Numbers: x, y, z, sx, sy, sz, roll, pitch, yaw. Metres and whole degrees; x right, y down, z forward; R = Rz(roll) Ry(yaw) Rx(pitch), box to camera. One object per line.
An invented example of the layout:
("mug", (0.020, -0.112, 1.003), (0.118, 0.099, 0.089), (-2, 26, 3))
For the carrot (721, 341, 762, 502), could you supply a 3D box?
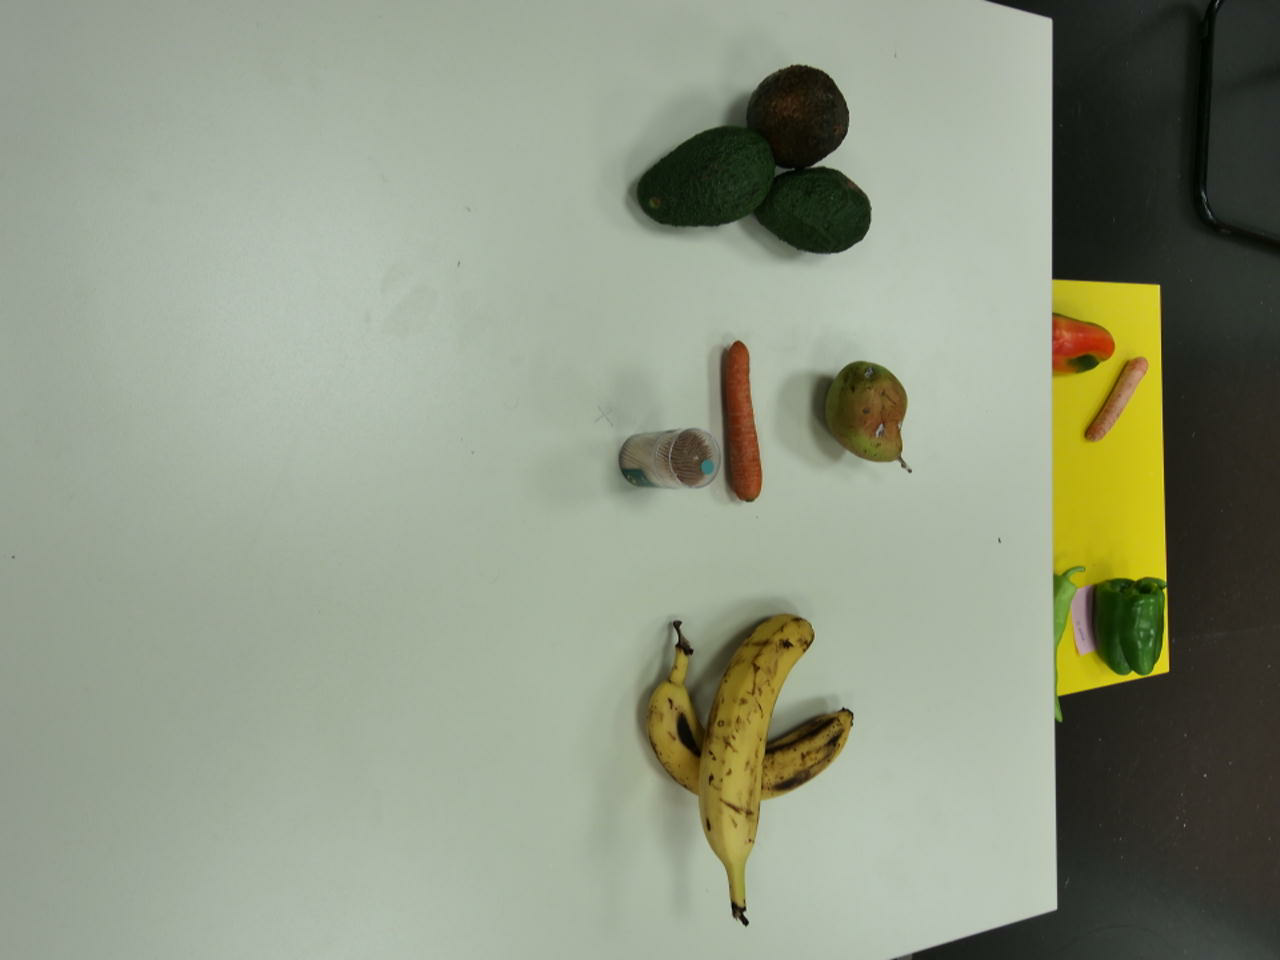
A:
("carrot", (0.076, -0.044, 0.749), (0.024, 0.023, 0.122), (-3, 92, -28))
